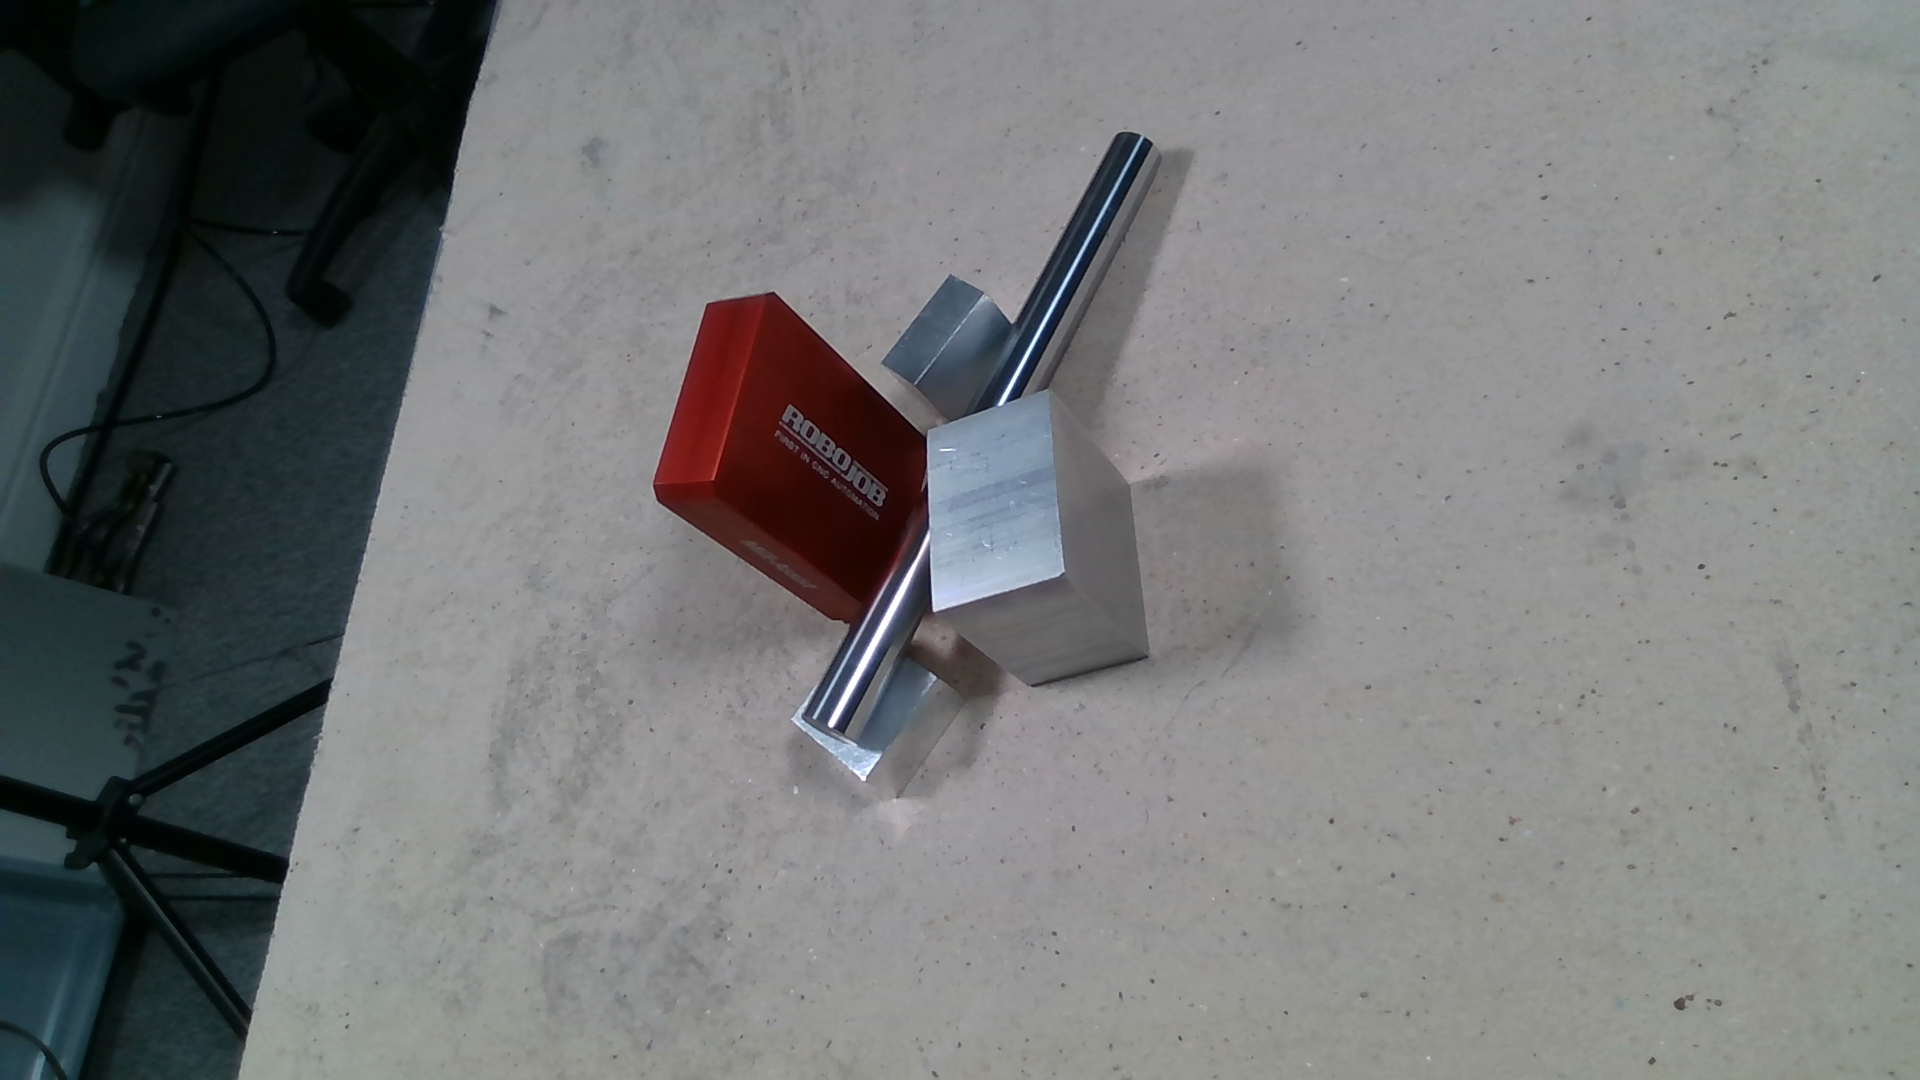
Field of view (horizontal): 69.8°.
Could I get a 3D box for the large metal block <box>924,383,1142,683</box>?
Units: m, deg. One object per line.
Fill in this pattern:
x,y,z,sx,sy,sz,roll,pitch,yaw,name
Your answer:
0.029,0.000,0.531,0.050,0.080,0.080,-16,58,24,large metal block

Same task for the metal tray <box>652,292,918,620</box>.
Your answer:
-0.065,-0.031,0.574,0.030,0.130,0.090,-2,64,31,metal tray

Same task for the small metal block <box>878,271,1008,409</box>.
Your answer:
-0.001,-0.082,0.612,0.025,0.050,0.050,36,87,39,small metal block

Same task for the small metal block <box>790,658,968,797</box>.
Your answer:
-0.034,0.069,0.570,0.050,0.025,0.050,32,85,39,small metal block

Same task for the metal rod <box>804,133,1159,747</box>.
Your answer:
0.015,-0.051,0.586,0.025,0.025,0.299,14,68,36,metal rod
